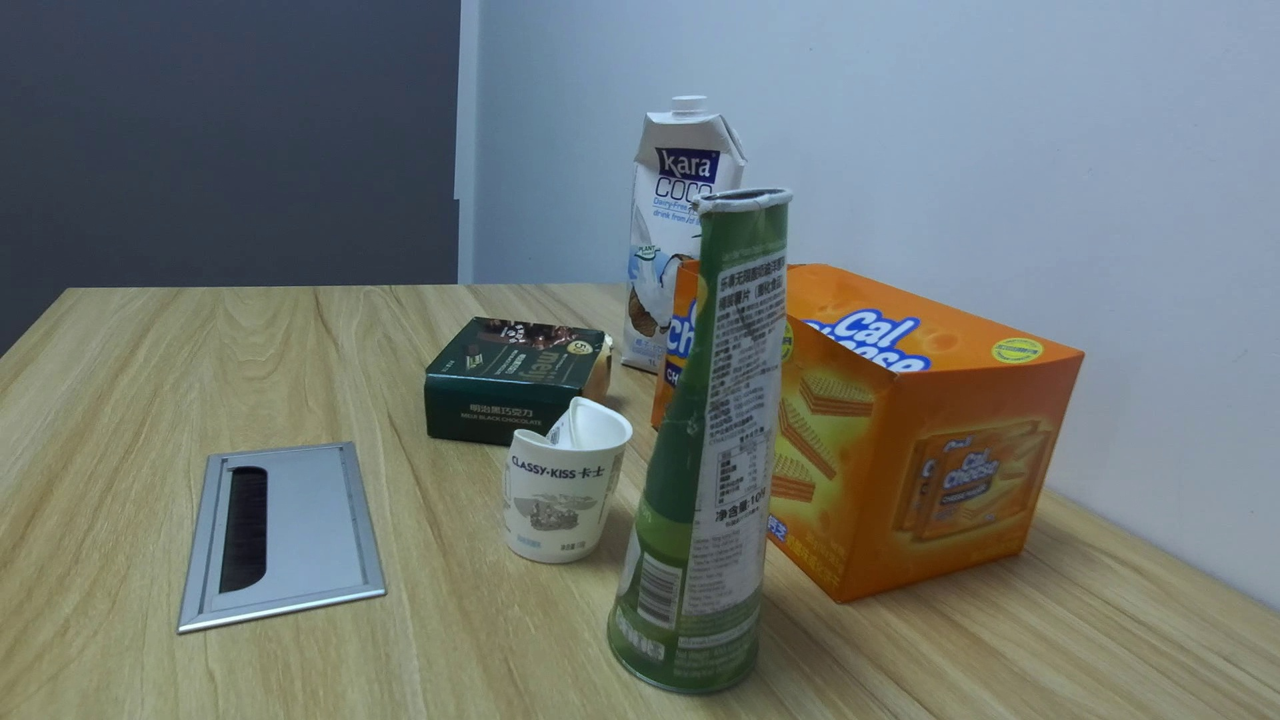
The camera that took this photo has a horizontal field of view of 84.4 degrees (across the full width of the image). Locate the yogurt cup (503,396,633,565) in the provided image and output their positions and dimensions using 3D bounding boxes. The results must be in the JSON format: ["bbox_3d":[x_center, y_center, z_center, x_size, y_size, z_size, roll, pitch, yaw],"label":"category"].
[{"bbox_3d":[-0.039,0.064,0.370,0.067,0.070,0.067,6,19,-2],"label":"yogurt cup"}]

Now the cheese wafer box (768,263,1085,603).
[{"bbox_3d":[0.120,0.023,0.457,0.153,0.132,0.229,-5,23,-26],"label":"cheese wafer box"}]

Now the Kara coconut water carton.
[{"bbox_3d":[0.035,-0.103,0.614,0.114,0.238,0.069,15,21,29],"label":"Kara coconut water carton"}]

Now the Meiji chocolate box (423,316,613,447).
[{"bbox_3d":[-0.086,0.018,0.515,0.122,0.058,0.116,6,23,4],"label":"Meiji chocolate box"}]
